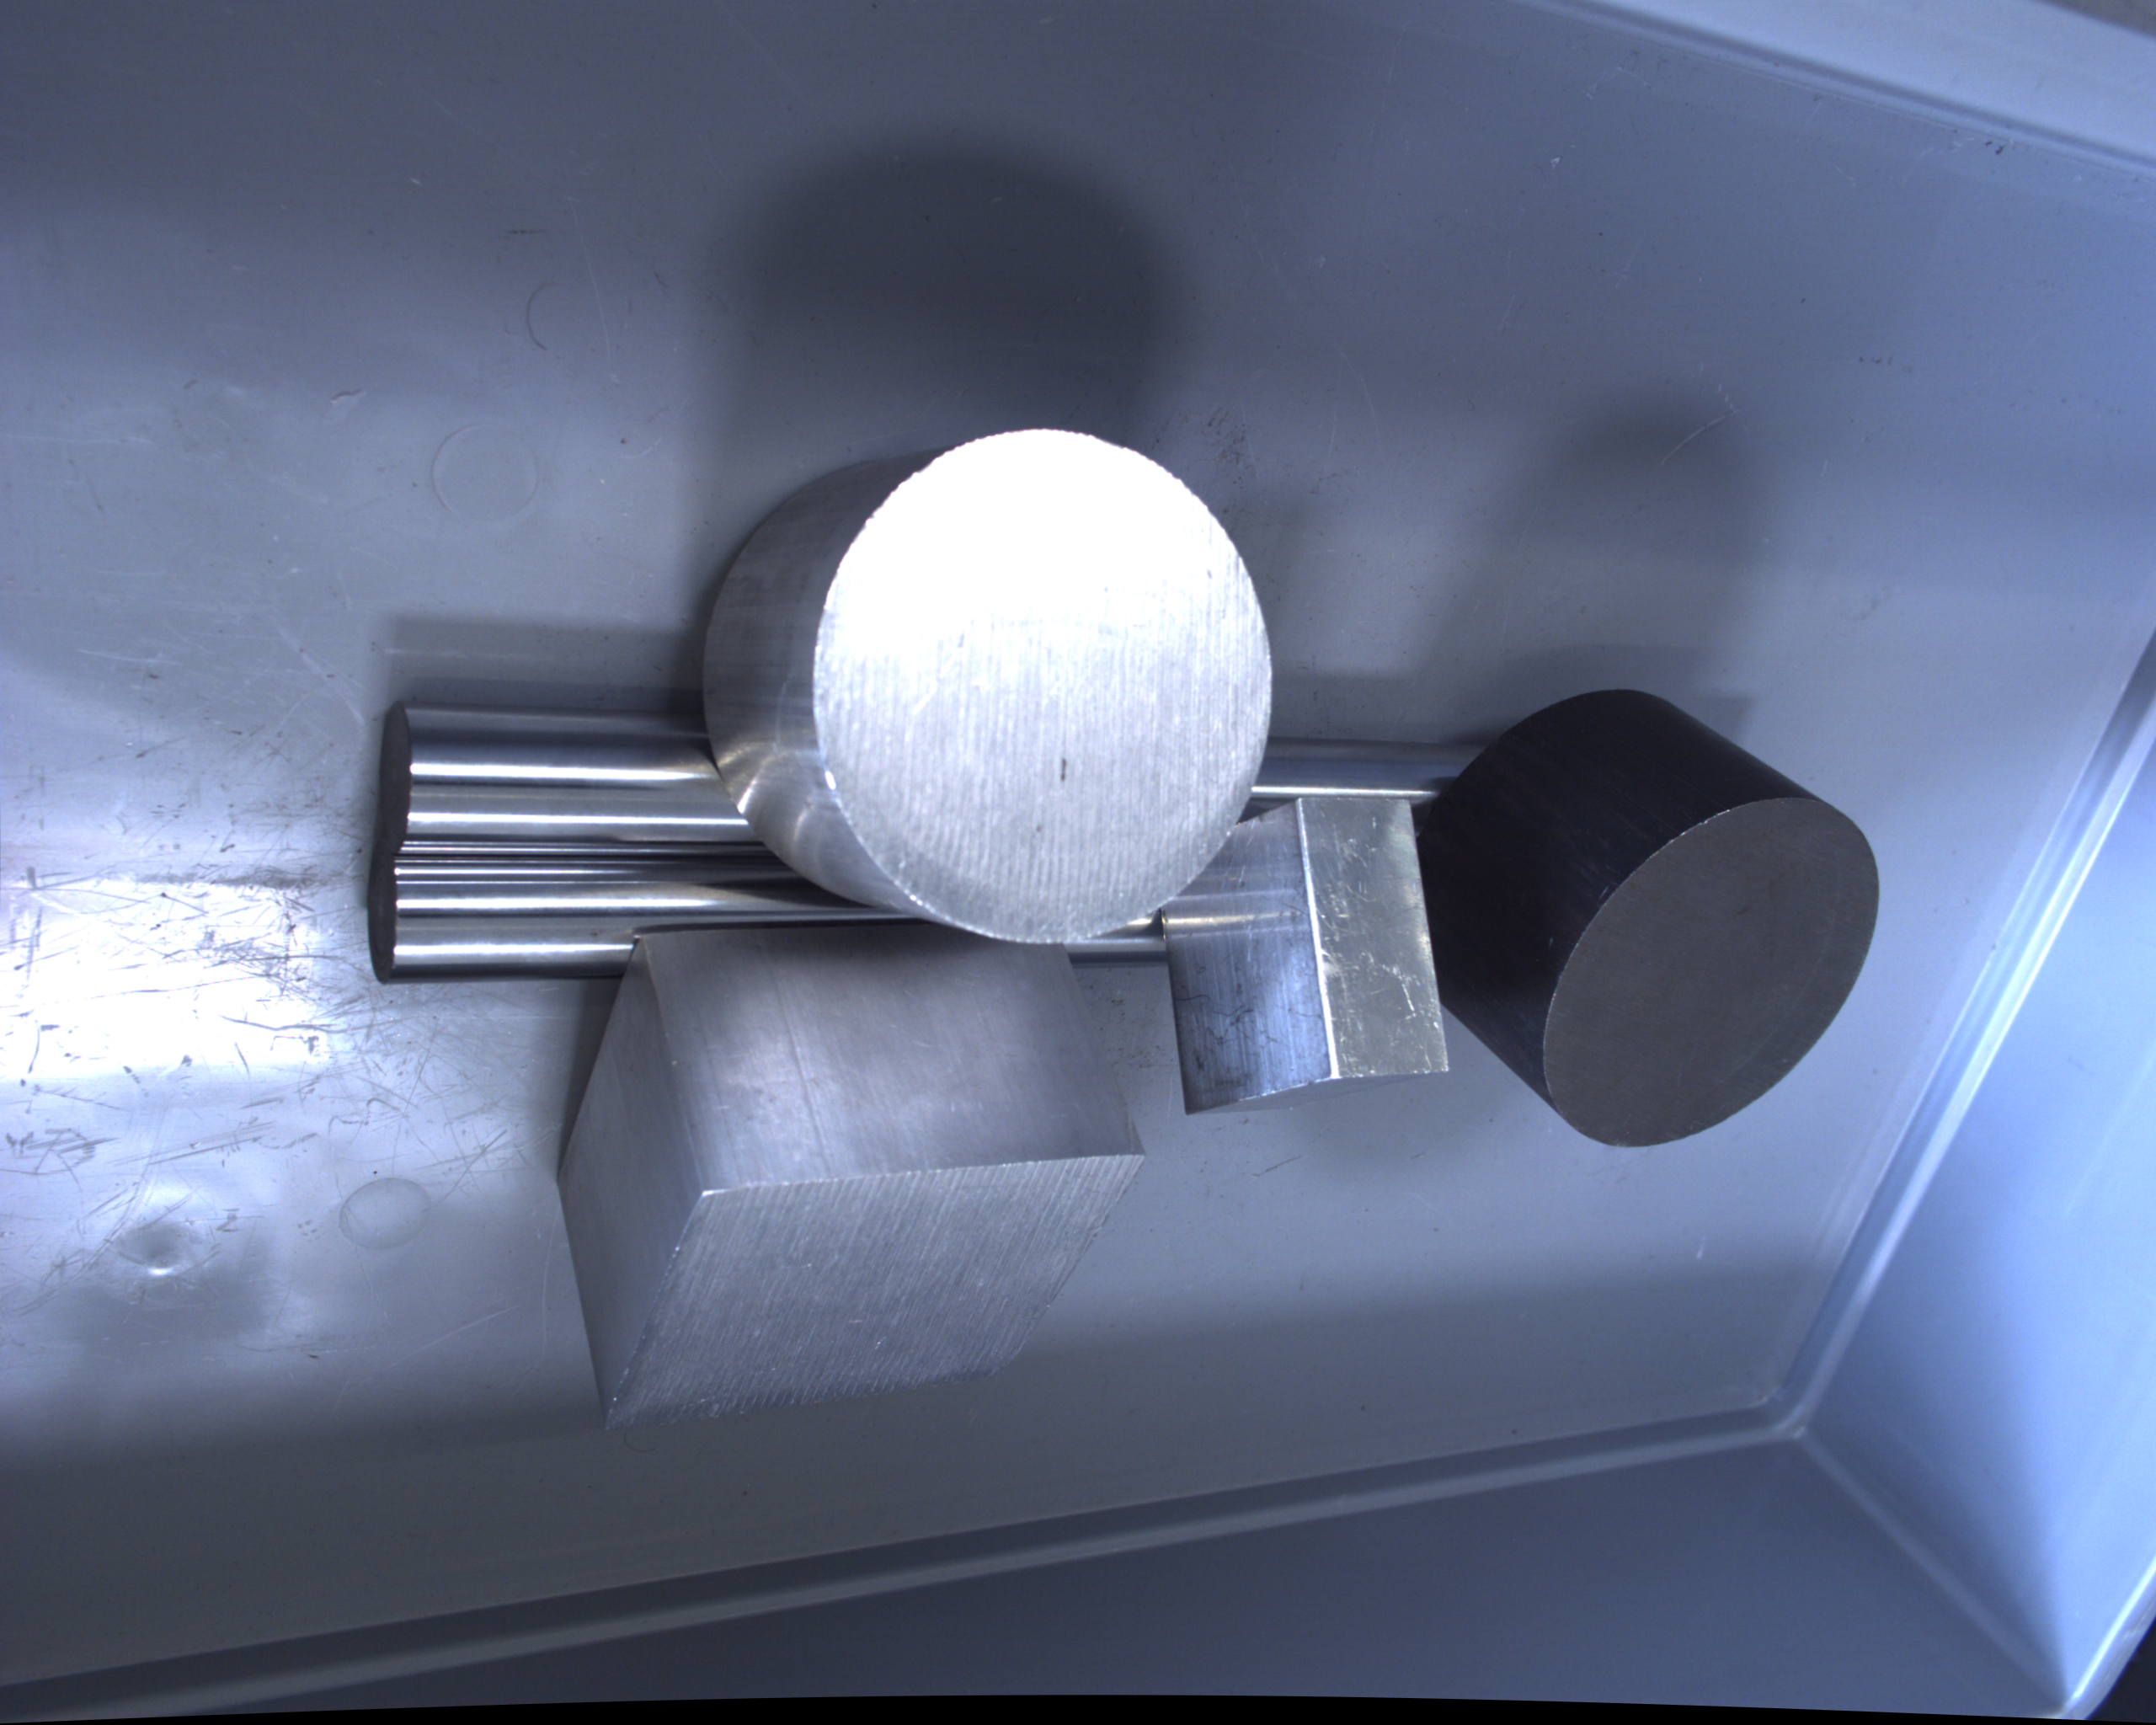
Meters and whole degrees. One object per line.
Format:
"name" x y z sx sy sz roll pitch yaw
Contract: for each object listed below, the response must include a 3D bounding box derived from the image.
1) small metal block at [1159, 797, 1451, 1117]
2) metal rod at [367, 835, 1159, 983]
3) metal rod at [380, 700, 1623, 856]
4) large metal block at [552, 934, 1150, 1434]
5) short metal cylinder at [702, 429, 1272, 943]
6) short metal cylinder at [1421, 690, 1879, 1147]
"small metal block" 0.040 0.019 0.388 0.025 0.050 0.050 1 76 -29
"metal rod" 0.016 0.009 0.421 0.303 0.025 0.025 0 118 -29
"metal rod" 0.022 -0.013 0.411 0.303 0.025 0.025 0 118 -29
"large metal block" -0.045 0.058 0.384 0.081 0.050 0.079 -1 139 -28
"short metal cylinder" -0.015 -0.029 0.346 0.081 0.050 0.079 -3 96 -29
"short metal cylinder" 0.114 0.011 0.428 0.081 0.050 0.079 -14 124 -21
